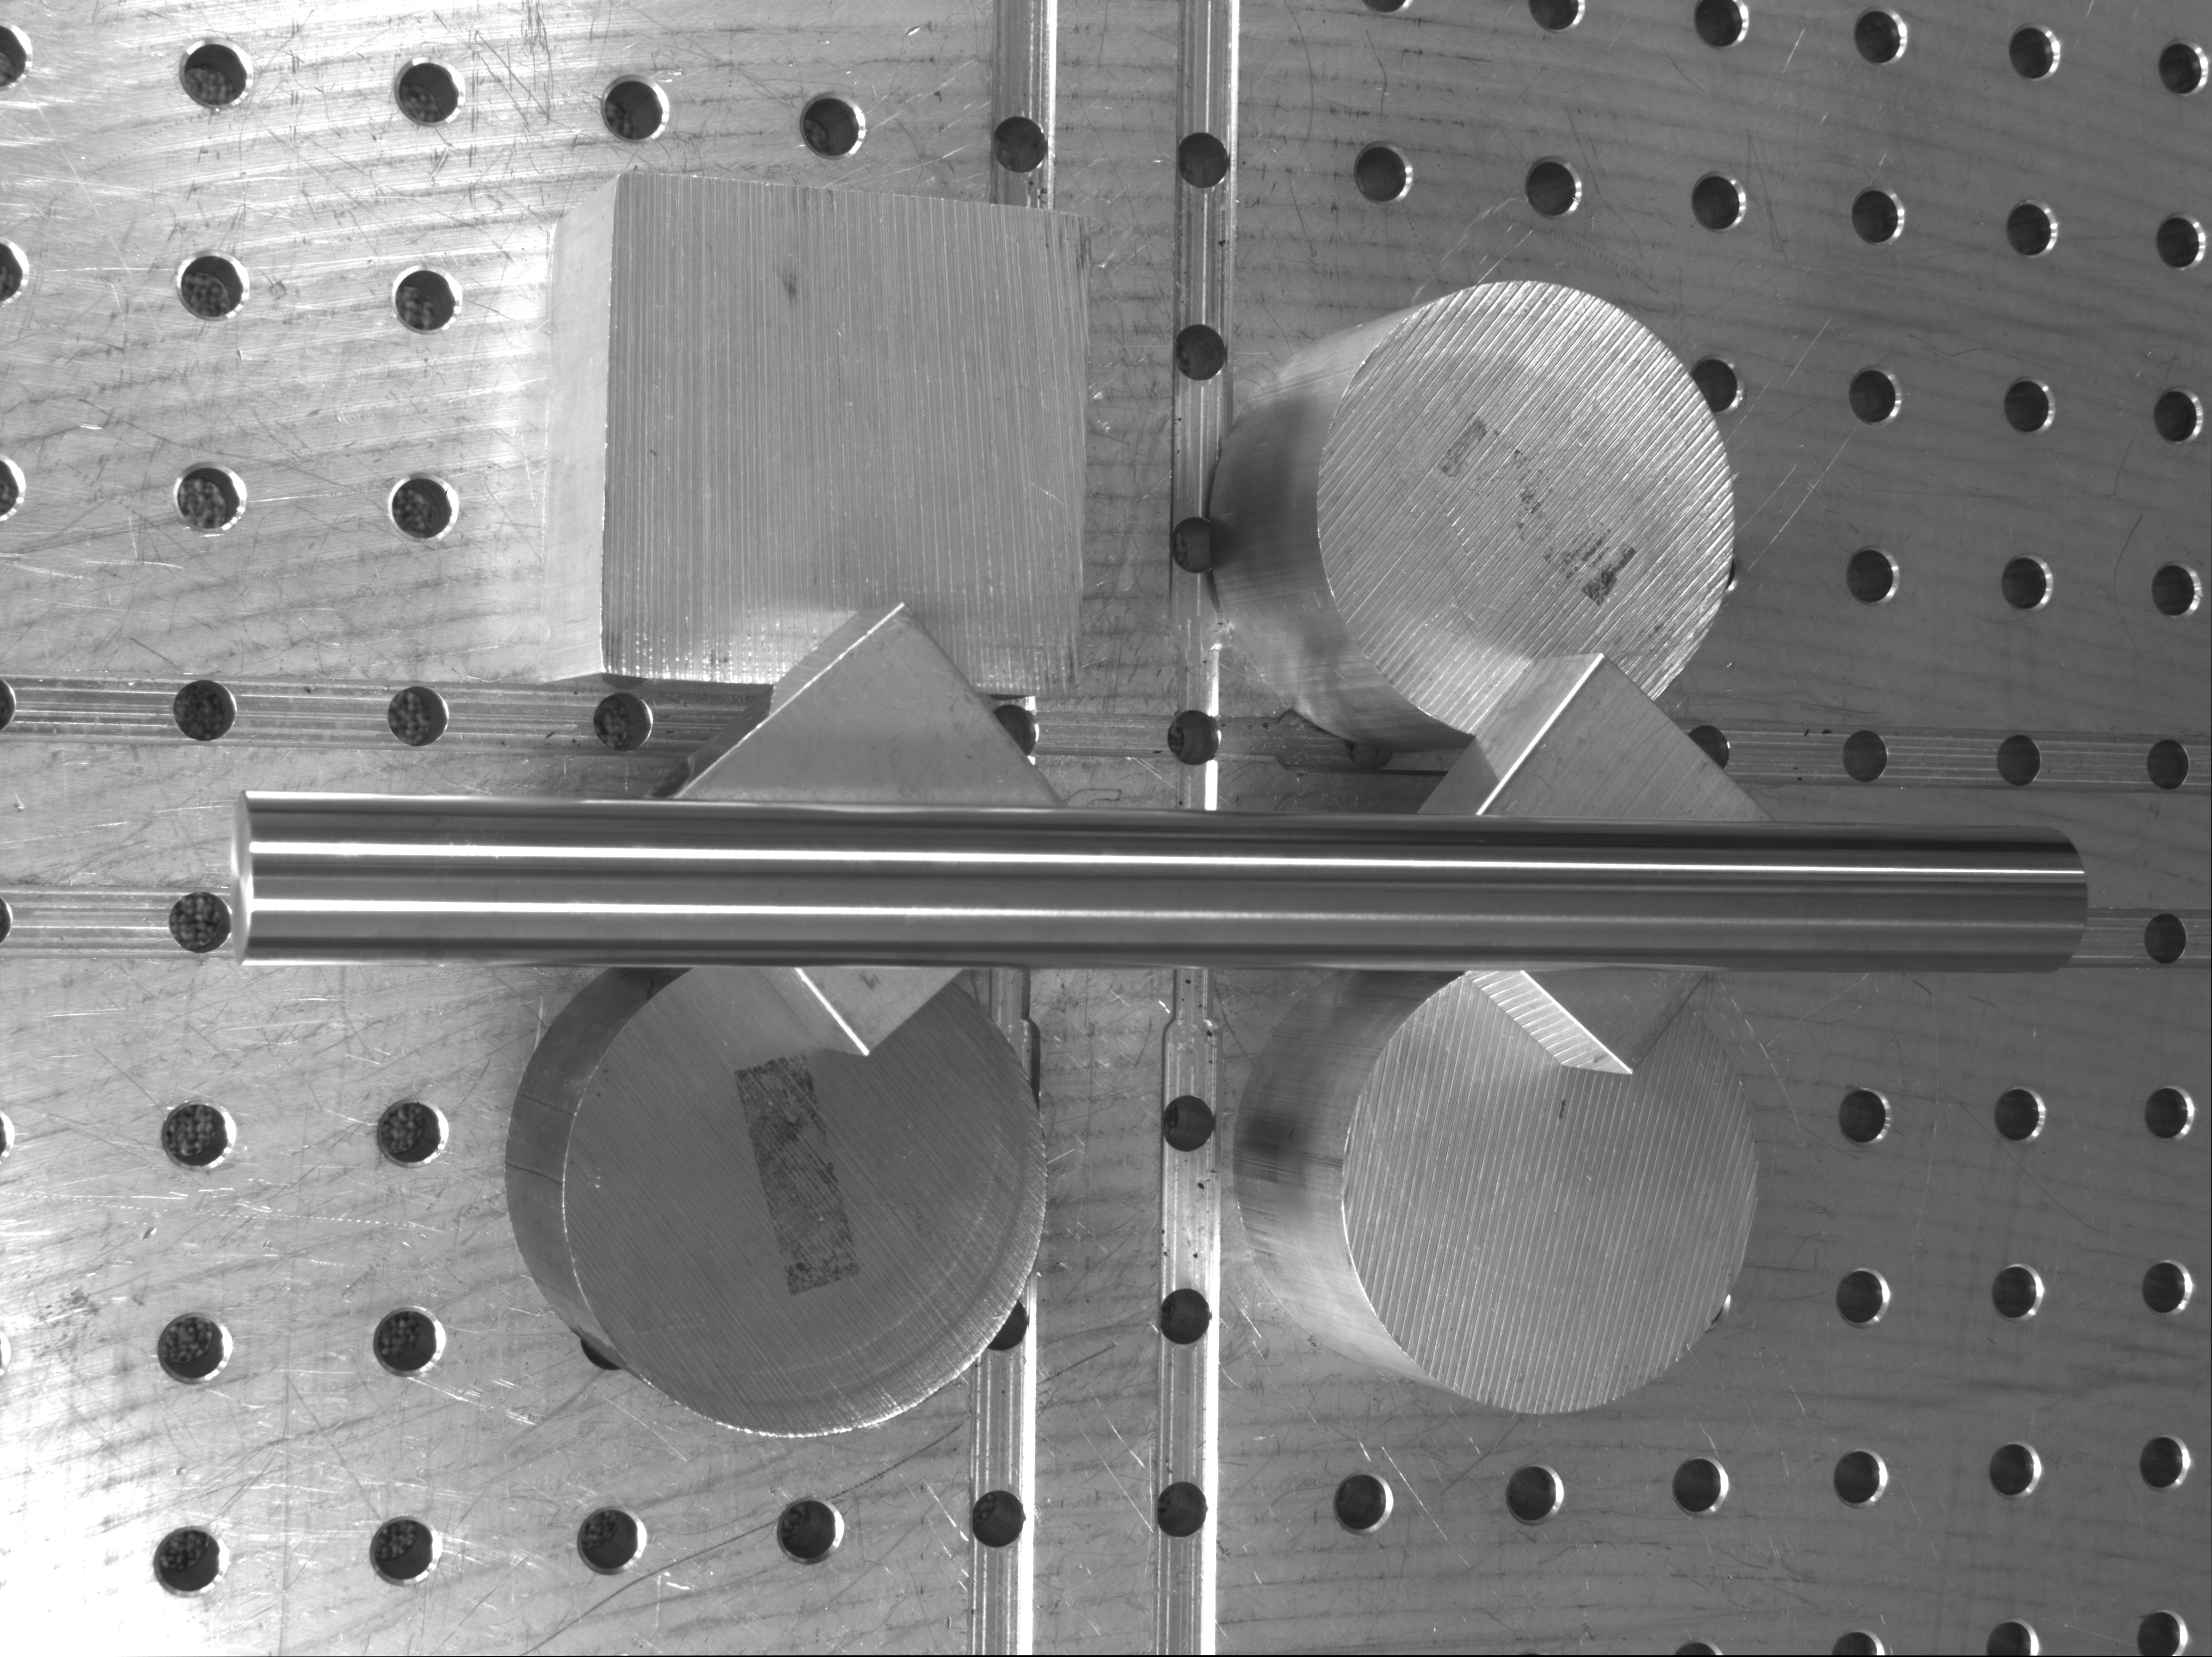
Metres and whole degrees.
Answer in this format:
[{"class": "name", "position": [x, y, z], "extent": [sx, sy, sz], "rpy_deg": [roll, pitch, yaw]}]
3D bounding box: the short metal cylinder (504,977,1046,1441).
[{"class": "short metal cylinder", "position": [-0.056, 0.058, 0.611], "extent": [0.080, 0.050, 0.080], "rpy_deg": [0, 90, -20]}]

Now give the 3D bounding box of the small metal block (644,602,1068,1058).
[{"class": "small metal block", "position": [-0.039, 0.000, 0.578], "extent": [0.050, 0.025, 0.050], "rpy_deg": [-42, 103, -15]}]

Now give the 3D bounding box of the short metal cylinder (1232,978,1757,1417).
[{"class": "short metal cylinder", "position": [0.069, 0.062, 0.657], "extent": [0.080, 0.050, 0.080], "rpy_deg": [0, 90, -20]}]

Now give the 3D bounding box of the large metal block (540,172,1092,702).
[{"class": "large metal block", "position": [-0.049, -0.062, 0.614], "extent": [0.080, 0.050, 0.080], "rpy_deg": [1, 89, -20]}]

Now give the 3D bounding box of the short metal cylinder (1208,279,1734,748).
[{"class": "short metal cylinder", "position": [0.065, -0.055, 0.656], "extent": [0.080, 0.050, 0.080], "rpy_deg": [0, 90, -20]}]

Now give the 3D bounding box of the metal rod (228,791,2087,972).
[{"class": "metal rod", "position": [0.018, 0.010, 0.572], "extent": [0.301, 0.025, 0.025], "rpy_deg": [1, 90, -20]}]

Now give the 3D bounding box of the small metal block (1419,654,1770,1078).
[{"class": "small metal block", "position": [0.080, 0.006, 0.622], "extent": [0.050, 0.025, 0.050], "rpy_deg": [42, 77, -15]}]
